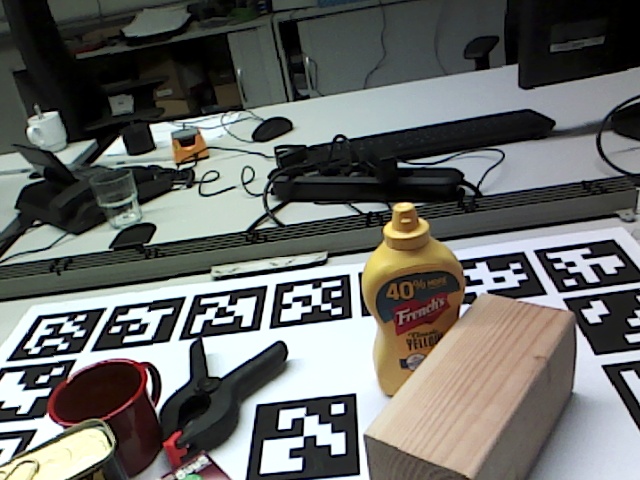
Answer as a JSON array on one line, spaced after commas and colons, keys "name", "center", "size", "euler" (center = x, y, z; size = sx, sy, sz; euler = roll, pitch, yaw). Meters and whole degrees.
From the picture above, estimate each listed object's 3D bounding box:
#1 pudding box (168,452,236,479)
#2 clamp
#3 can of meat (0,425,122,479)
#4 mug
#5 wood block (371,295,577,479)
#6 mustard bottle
[{"name": "pudding box", "center": [-0.105, 0.232, 0.483], "size": [0.113, 0.038, 0.090], "euler": [-28, 33, -32]}, {"name": "clamp", "center": [-0.112, 0.158, 0.635], "size": [0.122, 0.036, 0.165], "euler": [2, 32, 20]}, {"name": "can of meat", "center": [-0.207, 0.213, 0.496], "size": [0.101, 0.083, 0.058], "euler": [-24, 31, -23]}, {"name": "mug", "center": [-0.193, 0.185, 0.604], "size": [0.094, 0.081, 0.117], "euler": [2, 32, 23]}, {"name": "wood block", "center": [0.137, 0.142, 0.515], "size": [0.090, 0.090, 0.205], "euler": [9, 32, 37]}, {"name": "mustard bottle", "center": [0.085, 0.052, 0.584], "size": [0.096, 0.191, 0.058], "euler": [-12, 28, 0]}]
